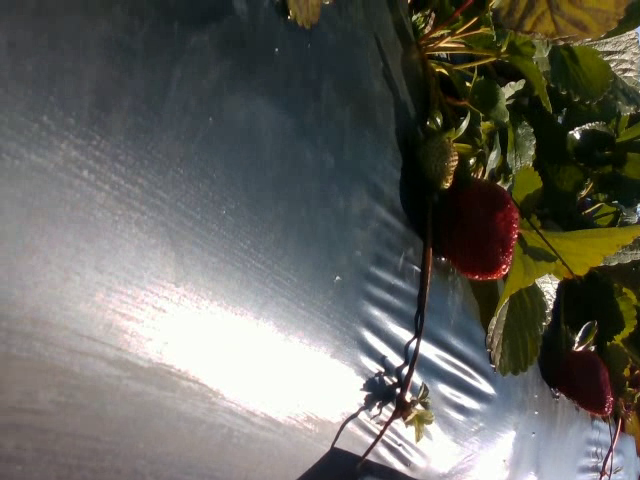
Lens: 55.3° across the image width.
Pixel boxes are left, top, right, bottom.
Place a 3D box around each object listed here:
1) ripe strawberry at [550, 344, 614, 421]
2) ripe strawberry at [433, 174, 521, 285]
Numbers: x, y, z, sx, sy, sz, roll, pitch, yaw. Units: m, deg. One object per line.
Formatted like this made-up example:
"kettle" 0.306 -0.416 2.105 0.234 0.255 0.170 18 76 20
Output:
"ripe strawberry" 0.174 0.098 0.397 0.043 0.043 0.050 -12 31 -3
"ripe strawberry" 0.066 -0.002 0.252 0.043 0.053 0.041 -23 -43 10
